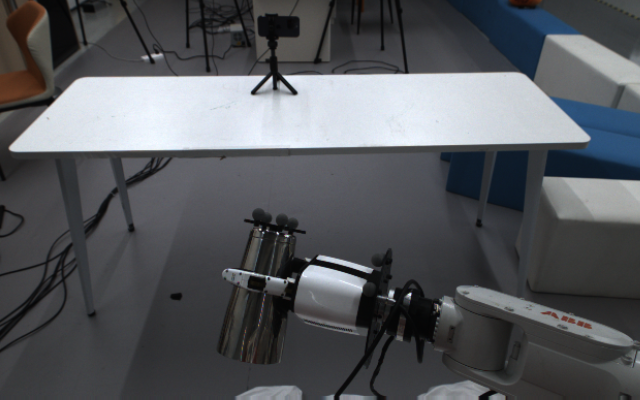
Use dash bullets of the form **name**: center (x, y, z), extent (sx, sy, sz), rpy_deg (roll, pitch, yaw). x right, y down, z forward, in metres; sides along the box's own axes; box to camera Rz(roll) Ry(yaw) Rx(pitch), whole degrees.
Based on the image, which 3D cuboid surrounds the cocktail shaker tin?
- **cocktail shaker tin**: center (-0.080, 0.129, 0.671), extent (0.093, 0.170, 0.093), rpy_deg (11, -5, 1)
